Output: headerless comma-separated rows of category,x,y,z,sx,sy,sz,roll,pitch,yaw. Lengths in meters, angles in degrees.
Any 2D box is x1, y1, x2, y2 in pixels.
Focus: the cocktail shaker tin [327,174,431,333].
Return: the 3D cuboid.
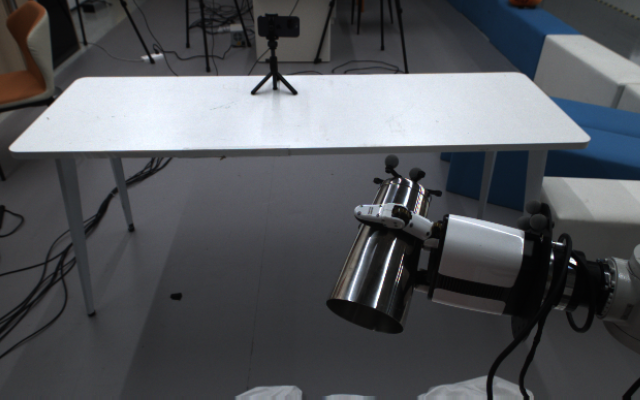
cocktail shaker tin,0.079,0.060,0.574,0.093,0.093,0.170,15,62,18
